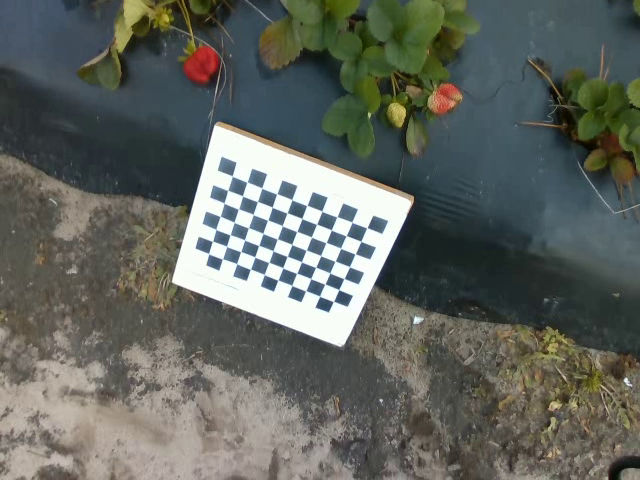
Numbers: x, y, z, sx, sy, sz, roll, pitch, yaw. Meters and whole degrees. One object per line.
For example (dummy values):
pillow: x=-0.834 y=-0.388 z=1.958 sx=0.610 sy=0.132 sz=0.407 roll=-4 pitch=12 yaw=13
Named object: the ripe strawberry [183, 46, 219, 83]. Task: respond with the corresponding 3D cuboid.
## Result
ripe strawberry: x=-0.044 y=-0.063 z=0.248 sx=0.017 sy=0.015 sz=0.013 roll=-43 pitch=-32 yaw=28
